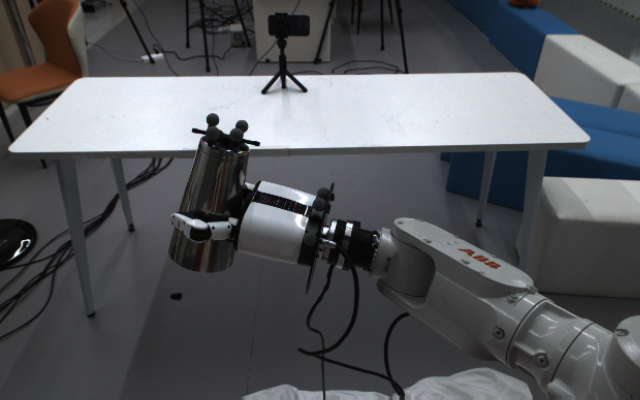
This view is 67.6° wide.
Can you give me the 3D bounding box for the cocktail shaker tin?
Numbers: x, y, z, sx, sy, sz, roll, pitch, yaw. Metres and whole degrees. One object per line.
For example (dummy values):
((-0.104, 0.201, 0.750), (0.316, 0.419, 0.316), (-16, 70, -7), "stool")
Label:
((-0.146, 0.002, 0.662), (0.093, 0.170, 0.093), (15, 20, -5), "cocktail shaker tin")
